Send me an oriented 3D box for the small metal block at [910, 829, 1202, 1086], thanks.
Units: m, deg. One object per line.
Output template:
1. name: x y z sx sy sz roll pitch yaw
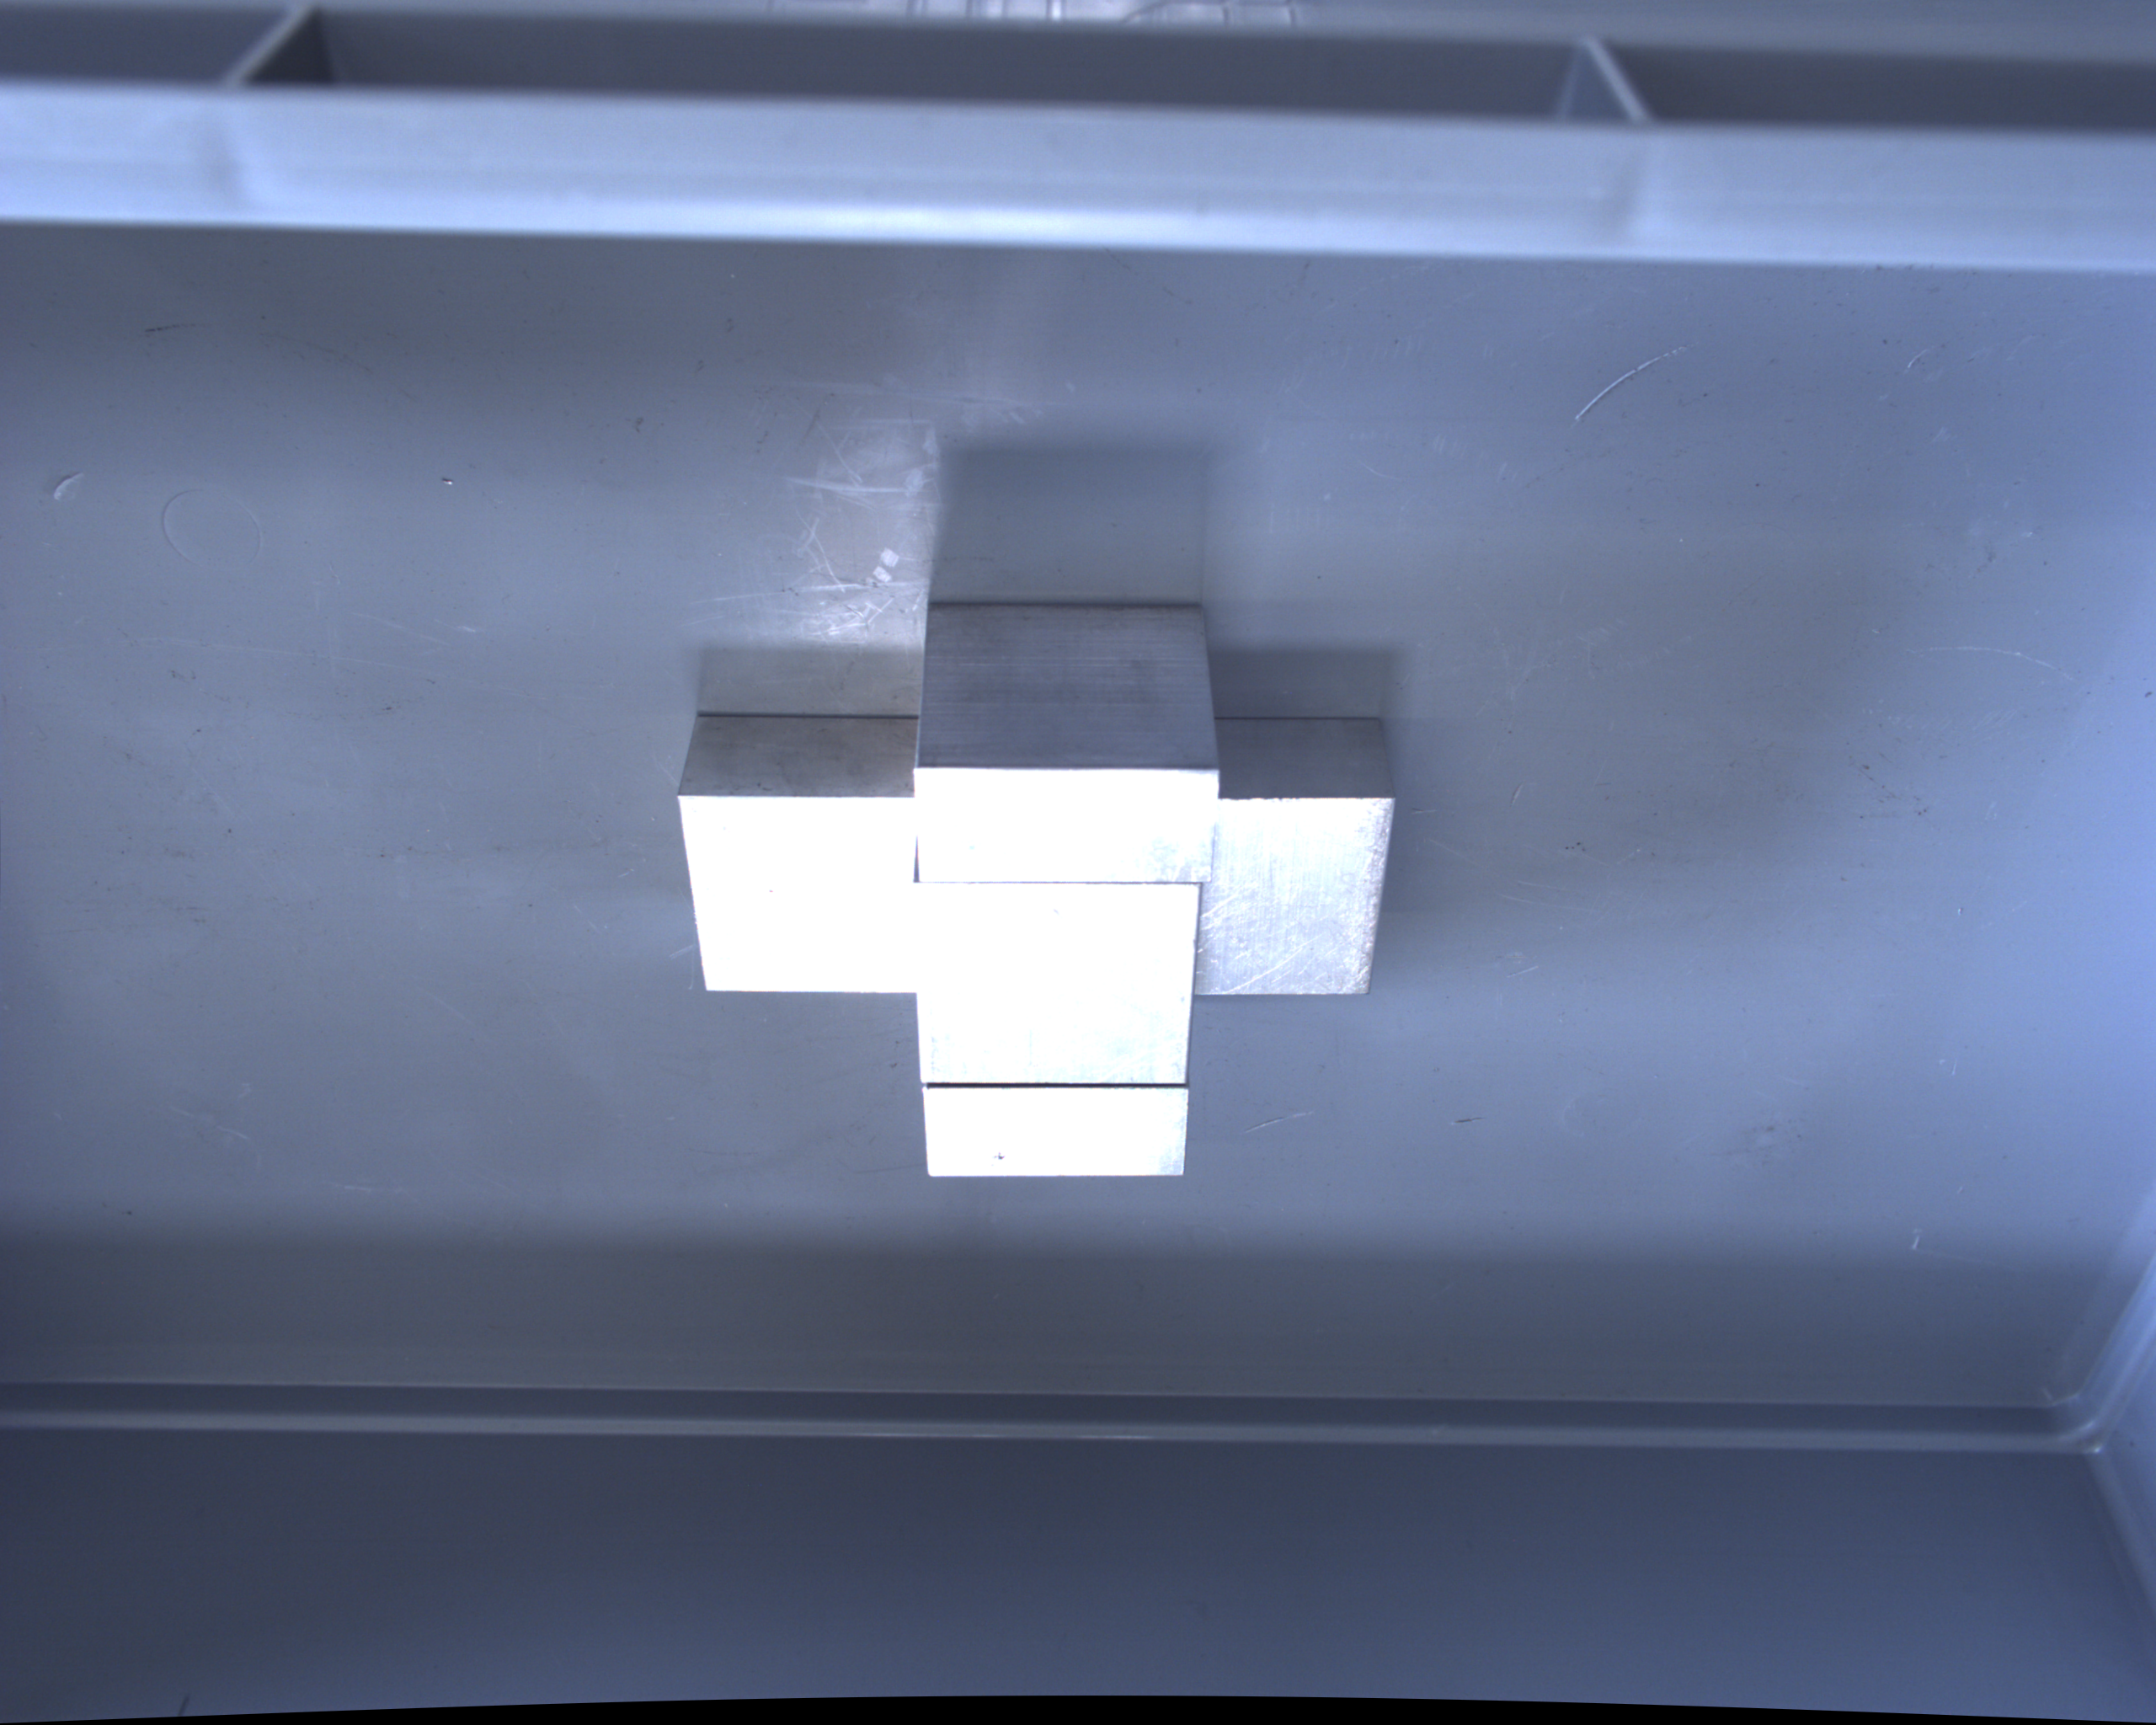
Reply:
1. small metal block: -0.004 0.015 0.385 0.050 0.025 0.050 0 130 -1

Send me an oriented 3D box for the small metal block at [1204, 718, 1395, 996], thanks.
1. small metal block: 0.032 -0.001 0.406 0.050 0.025 0.050 0 130 -1

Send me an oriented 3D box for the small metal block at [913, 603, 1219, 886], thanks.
1. small metal block: -0.002 -0.022 0.371 0.050 0.050 0.025 0 130 -1

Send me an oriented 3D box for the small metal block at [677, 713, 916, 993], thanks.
1. small metal block: -0.048 -0.001 0.405 0.050 0.025 0.050 0 130 -1

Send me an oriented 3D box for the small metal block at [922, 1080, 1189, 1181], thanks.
1. small metal block: -0.004 0.037 0.420 0.050 0.050 0.025 0 130 -1
